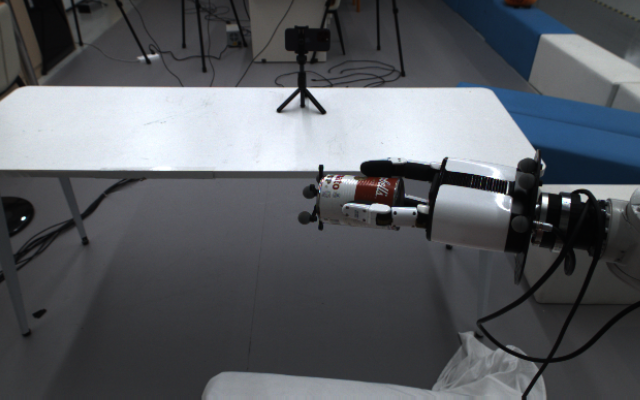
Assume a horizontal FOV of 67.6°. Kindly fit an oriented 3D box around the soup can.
[{"bbox_3d":[0.056,0.002,0.630,0.101,0.067,0.067,4,34,18],"label":"soup can"}]
